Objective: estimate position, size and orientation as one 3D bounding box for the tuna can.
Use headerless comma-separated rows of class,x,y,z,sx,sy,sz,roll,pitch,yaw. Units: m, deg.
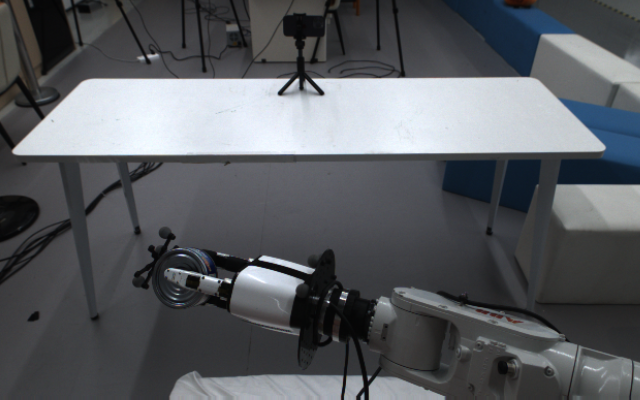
tuna can,-0.187,0.113,0.674,0.085,0.085,0.034,9,-3,10
